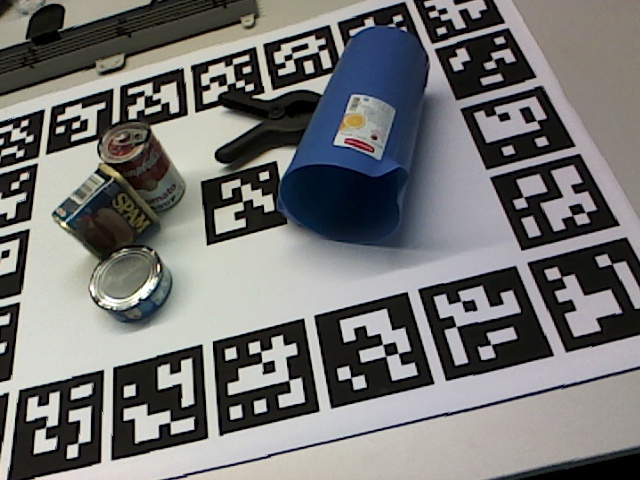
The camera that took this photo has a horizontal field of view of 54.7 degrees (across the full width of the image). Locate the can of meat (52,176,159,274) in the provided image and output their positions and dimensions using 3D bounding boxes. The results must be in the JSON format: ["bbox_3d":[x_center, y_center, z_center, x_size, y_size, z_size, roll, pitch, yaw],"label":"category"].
[{"bbox_3d":[-0.258,-0.013,0.746,0.058,0.101,0.083,38,78,30],"label":"can of meat"}]

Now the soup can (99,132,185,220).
[{"bbox_3d":[-0.222,-0.079,0.782,0.068,0.101,0.068,-8,59,13],"label":"soup can"}]

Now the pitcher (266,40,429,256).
[{"bbox_3d":[0.041,-0.111,0.707,0.190,0.132,0.242,-9,46,36],"label":"pitcher"}]

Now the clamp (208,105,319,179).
[{"bbox_3d":[-0.070,-0.143,0.831,0.165,0.036,0.122,-11,52,4],"label":"clamp"}]

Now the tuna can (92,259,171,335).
[{"bbox_3d":[-0.221,0.068,0.728,0.086,0.033,0.086,-7,59,11],"label":"tuna can"}]
